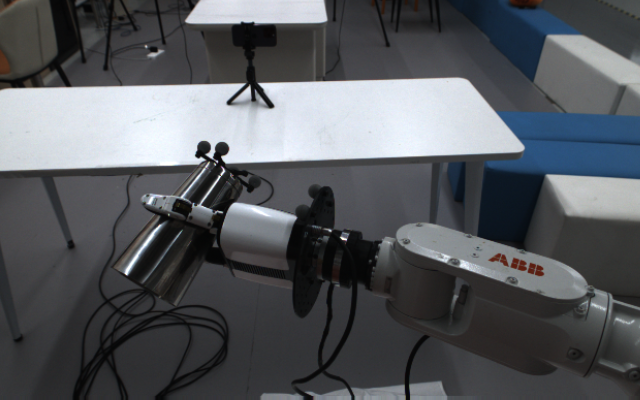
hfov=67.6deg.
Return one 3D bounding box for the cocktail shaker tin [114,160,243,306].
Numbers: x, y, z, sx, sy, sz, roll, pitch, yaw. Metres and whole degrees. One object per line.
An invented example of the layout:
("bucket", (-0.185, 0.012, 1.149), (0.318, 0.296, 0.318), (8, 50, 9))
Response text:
("cocktail shaker tin", (-0.168, 0.034, 0.607), (0.093, 0.093, 0.170), (20, 67, 24))
